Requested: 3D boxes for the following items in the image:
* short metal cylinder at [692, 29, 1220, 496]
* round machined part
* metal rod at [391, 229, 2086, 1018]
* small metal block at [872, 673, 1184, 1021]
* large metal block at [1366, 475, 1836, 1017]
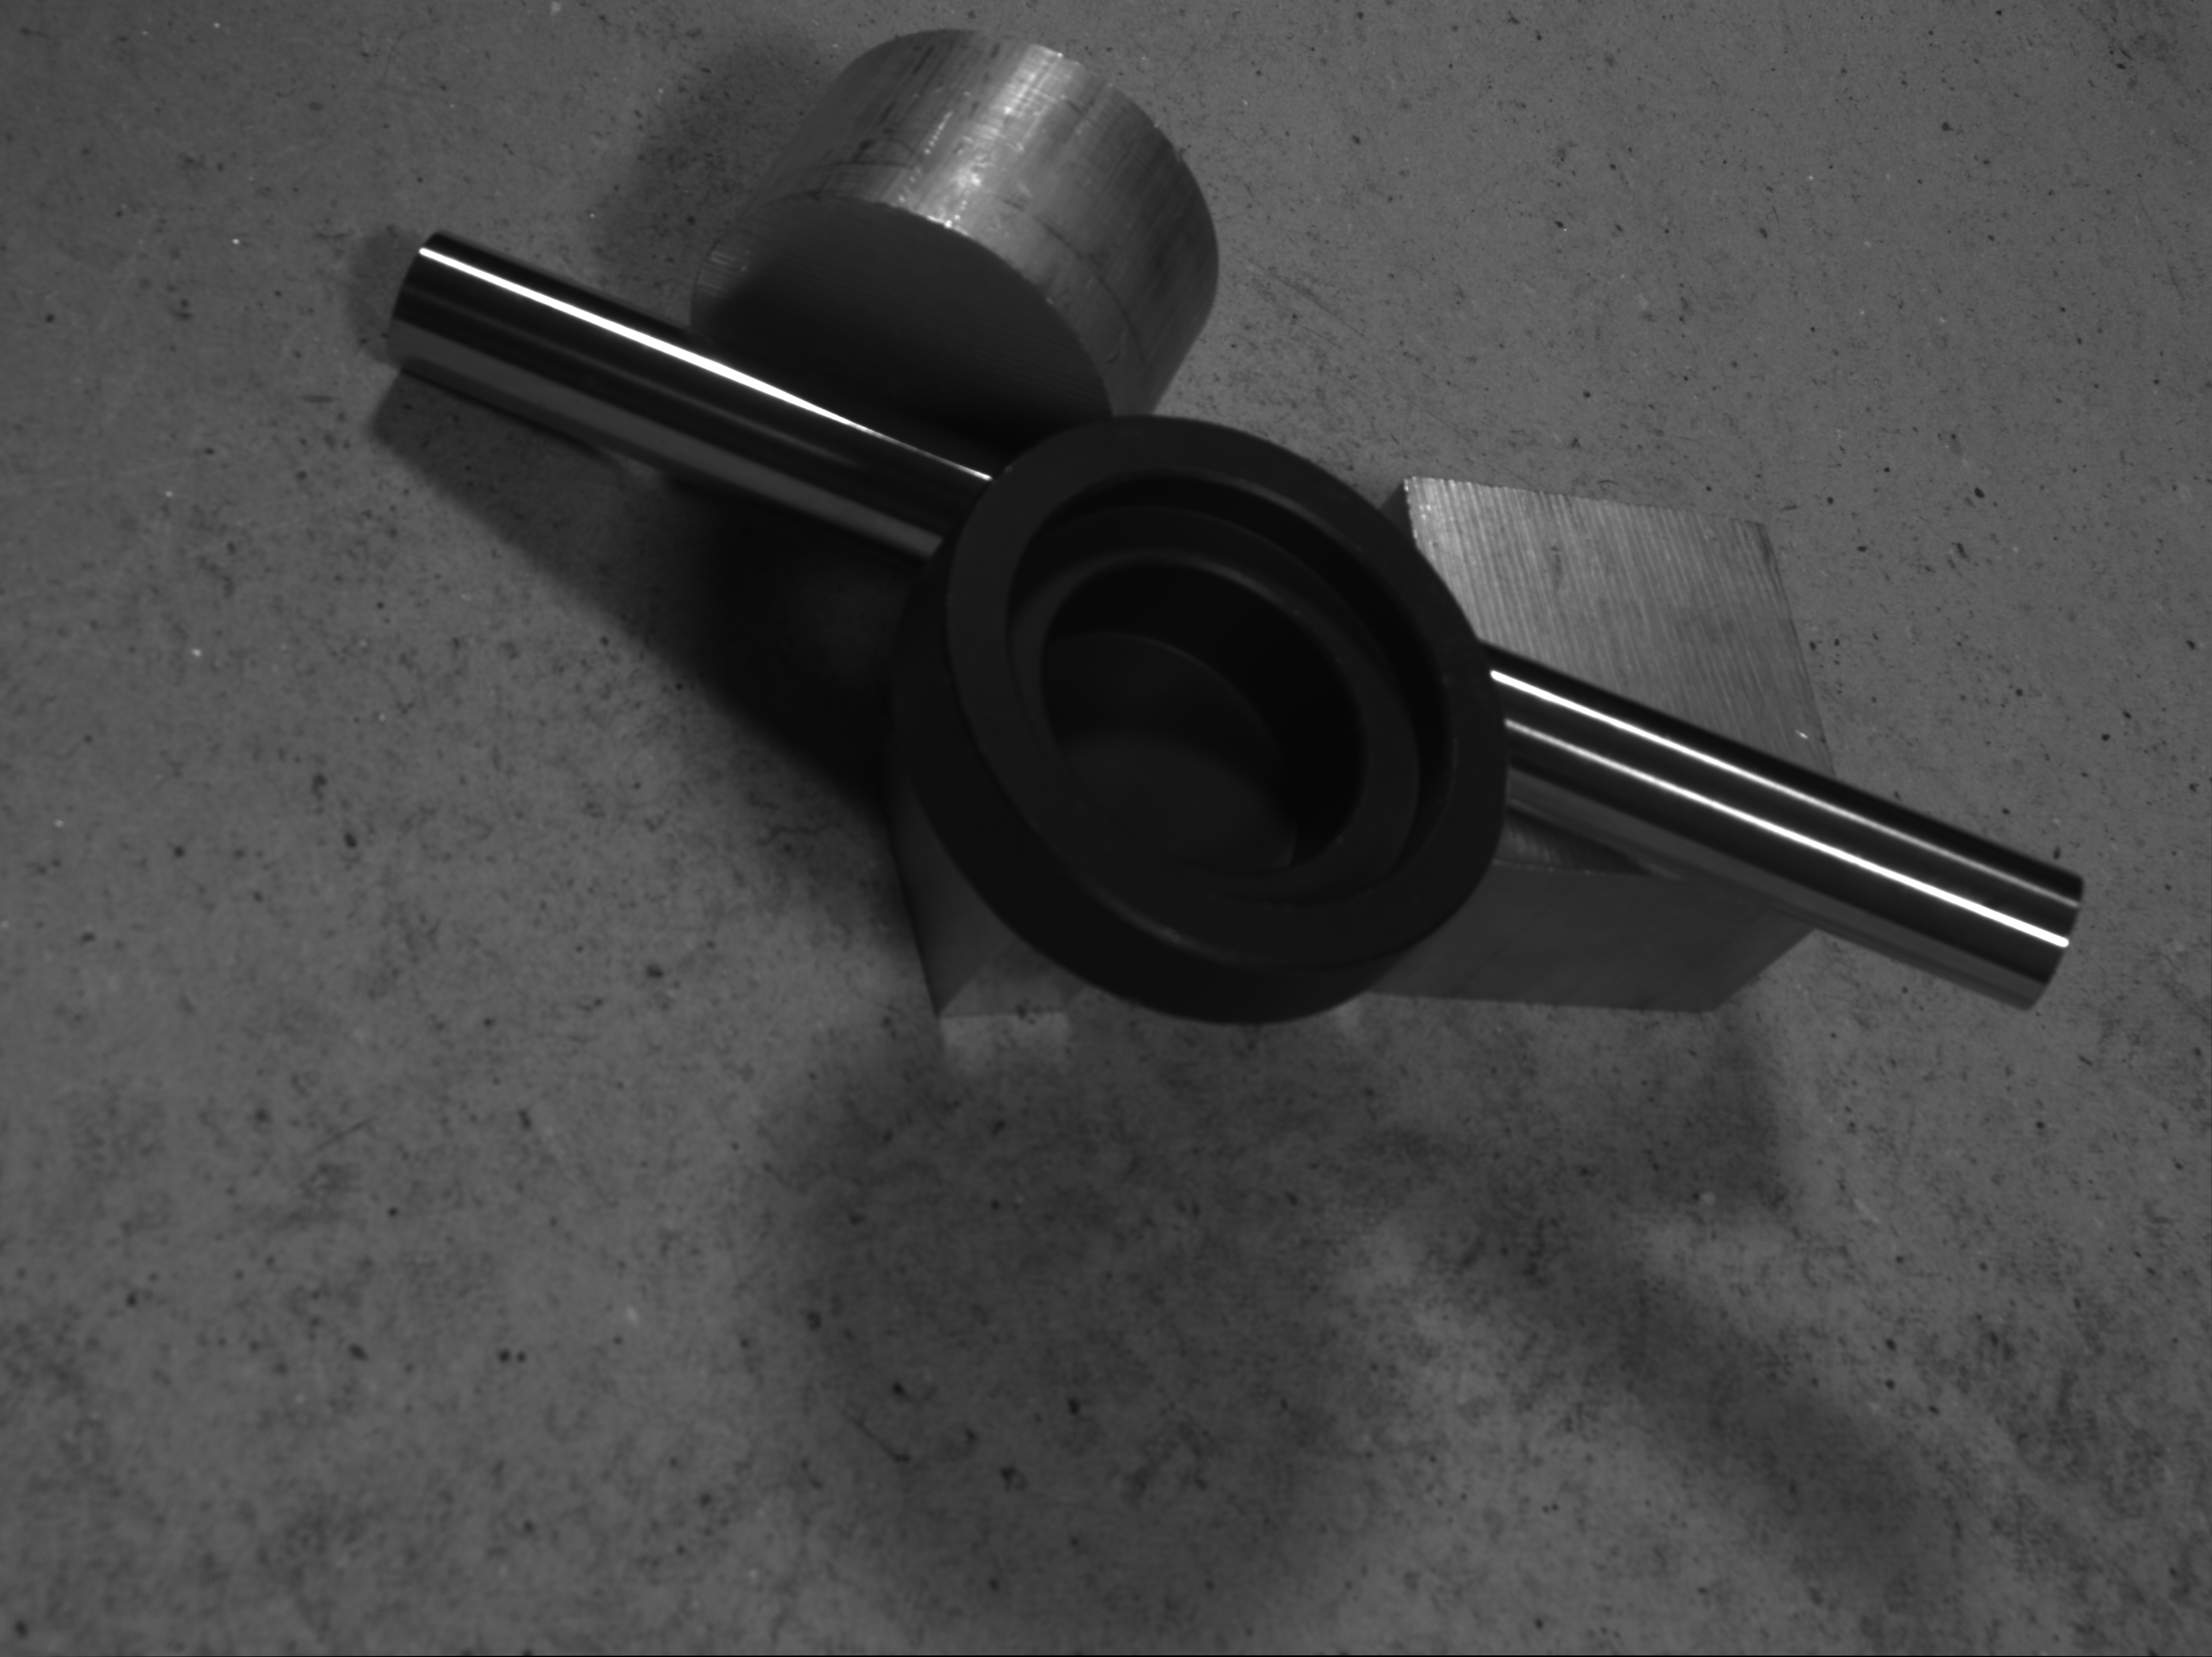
[{"bbox_3d":[-0.026,-0.093,0.648,0.080,0.080,0.050,33,51,-7],"label":"short metal cylinder"},{"bbox_3d":[0.011,-0.013,0.580,0.098,0.042,0.098,13,57,-21],"label":"round machined part"},{"bbox_3d":[0.021,-0.036,0.625,0.300,0.025,0.025,22,52,3],"label":"metal rod"},{"bbox_3d":[-0.013,-0.002,0.619,0.025,0.050,0.050,-2,63,-29],"label":"small metal block"},{"bbox_3d":[0.085,-0.014,0.679,0.080,0.050,0.080,5,60,-26],"label":"large metal block"}]
